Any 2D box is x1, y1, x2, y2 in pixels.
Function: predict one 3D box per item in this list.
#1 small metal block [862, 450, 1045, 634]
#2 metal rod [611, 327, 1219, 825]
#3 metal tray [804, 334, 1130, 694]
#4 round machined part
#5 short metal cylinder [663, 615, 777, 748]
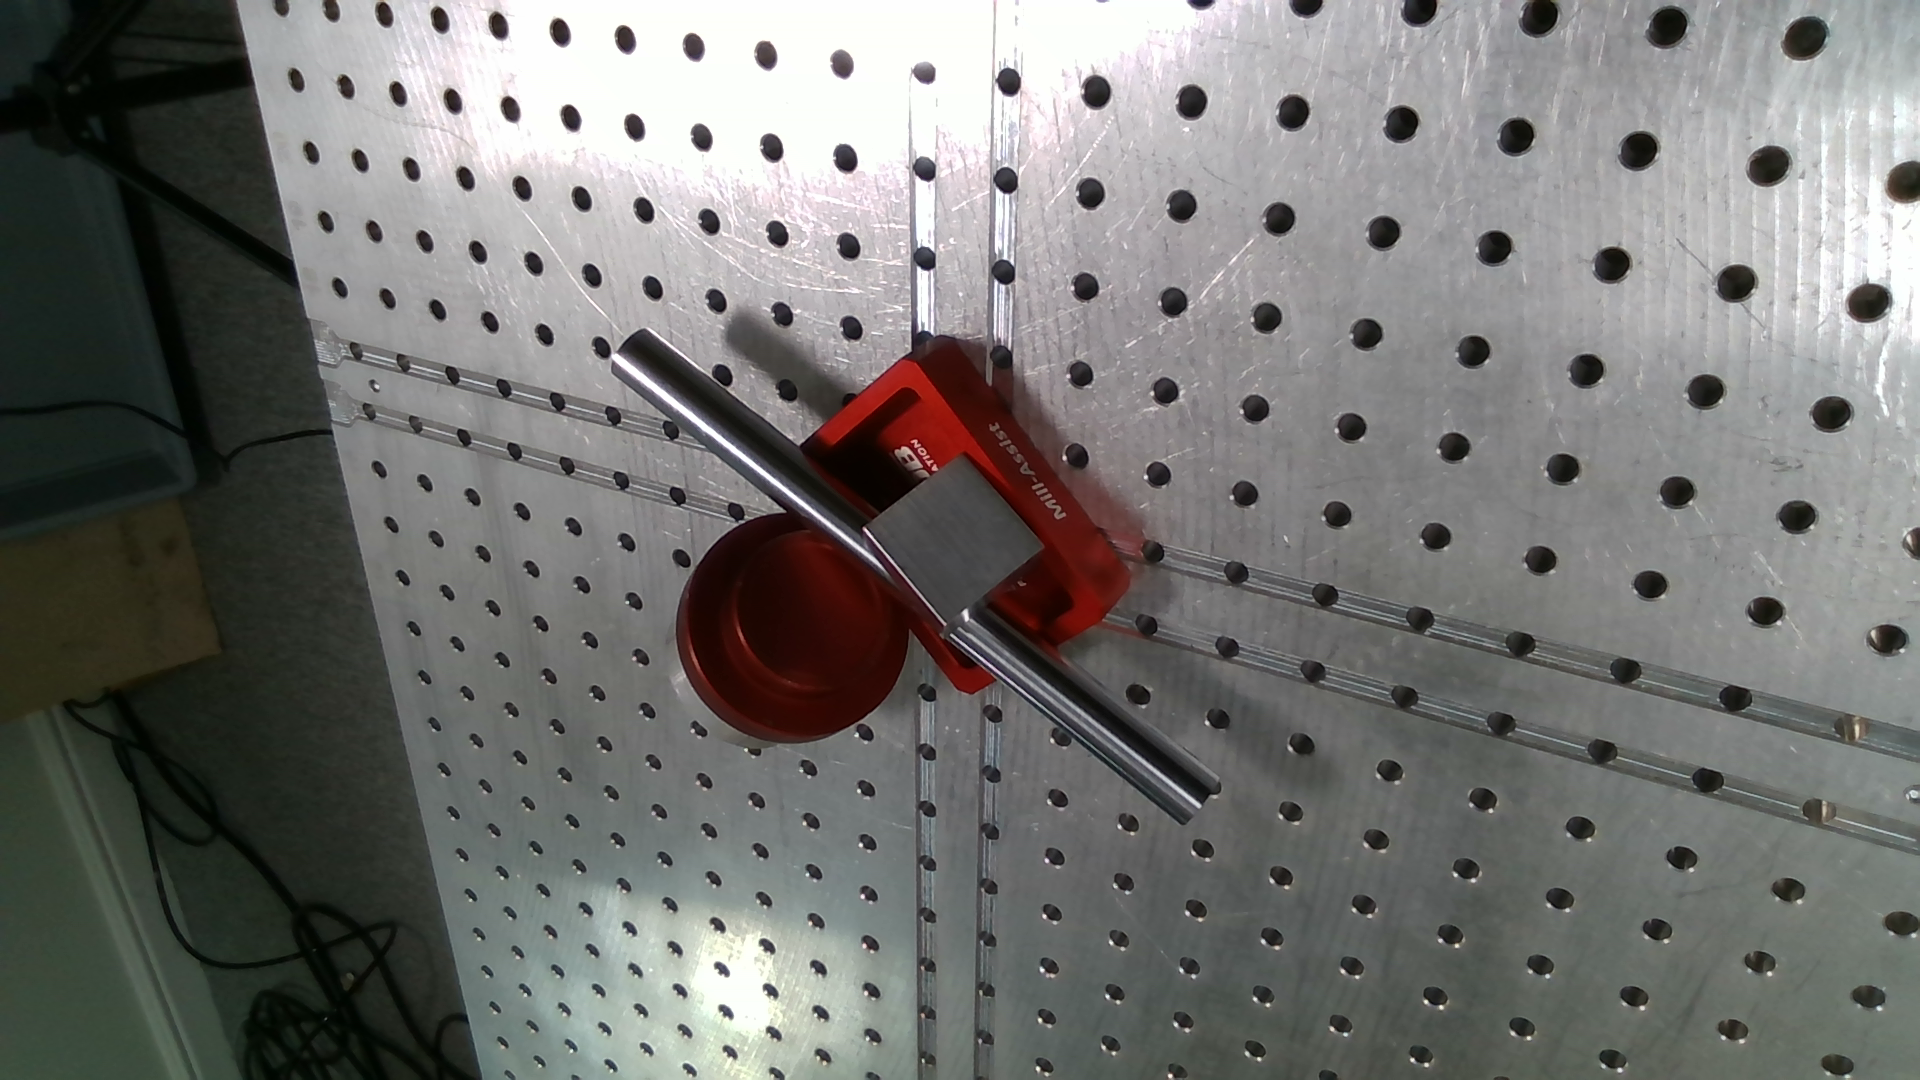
[{"bbox_3d":[-0.003,0.002,0.541,0.050,0.050,0.025,50,168,11],"label":"small metal block"},{"bbox_3d":[-0.022,0.011,0.564,0.300,0.025,0.025,38,129,8],"label":"metal rod"},{"bbox_3d":[-0.002,-0.008,0.576,0.090,0.030,0.130,-35,95,39],"label":"metal tray"},{"bbox_3d":[-0.068,0.034,0.583,0.098,0.098,0.042,50,151,-2],"label":"round machined part"},{"bbox_3d":[-0.087,0.048,0.626,0.050,0.080,0.080,-35,94,39],"label":"short metal cylinder"}]
